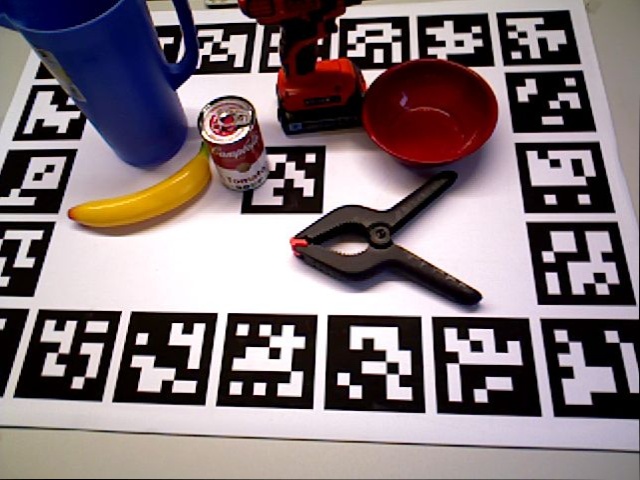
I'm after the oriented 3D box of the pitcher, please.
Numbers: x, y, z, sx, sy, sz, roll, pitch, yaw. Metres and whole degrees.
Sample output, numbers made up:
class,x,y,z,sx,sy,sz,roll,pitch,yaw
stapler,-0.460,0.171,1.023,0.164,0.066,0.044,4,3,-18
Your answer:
class,x,y,z,sx,sy,sz,roll,pitch,yaw
pitcher,-0.223,-0.199,0.608,0.187,0.246,0.132,-23,60,-7

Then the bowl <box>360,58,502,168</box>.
class,x,y,z,sx,sy,sz,roll,pitch,yaw
bowl,0.128,-0.142,0.649,0.161,0.056,0.160,-3,65,5

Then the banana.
class,x,y,z,sx,sy,sz,roll,pitch,yaw
banana,-0.221,-0.050,0.653,0.195,0.039,0.073,-24,55,-8

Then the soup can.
class,x,y,z,sx,sy,sz,roll,pitch,yaw
soup can,-0.099,-0.113,0.634,0.068,0.104,0.067,-3,55,3

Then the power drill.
class,x,y,z,sx,sy,sz,roll,pitch,yaw
power drill,0.015,-0.231,0.609,0.184,0.190,0.057,-5,63,2

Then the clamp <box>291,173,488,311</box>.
class,x,y,z,sx,sy,sz,roll,pitch,yaw
clamp,0.068,0.001,0.589,0.202,0.037,0.164,-4,68,4
